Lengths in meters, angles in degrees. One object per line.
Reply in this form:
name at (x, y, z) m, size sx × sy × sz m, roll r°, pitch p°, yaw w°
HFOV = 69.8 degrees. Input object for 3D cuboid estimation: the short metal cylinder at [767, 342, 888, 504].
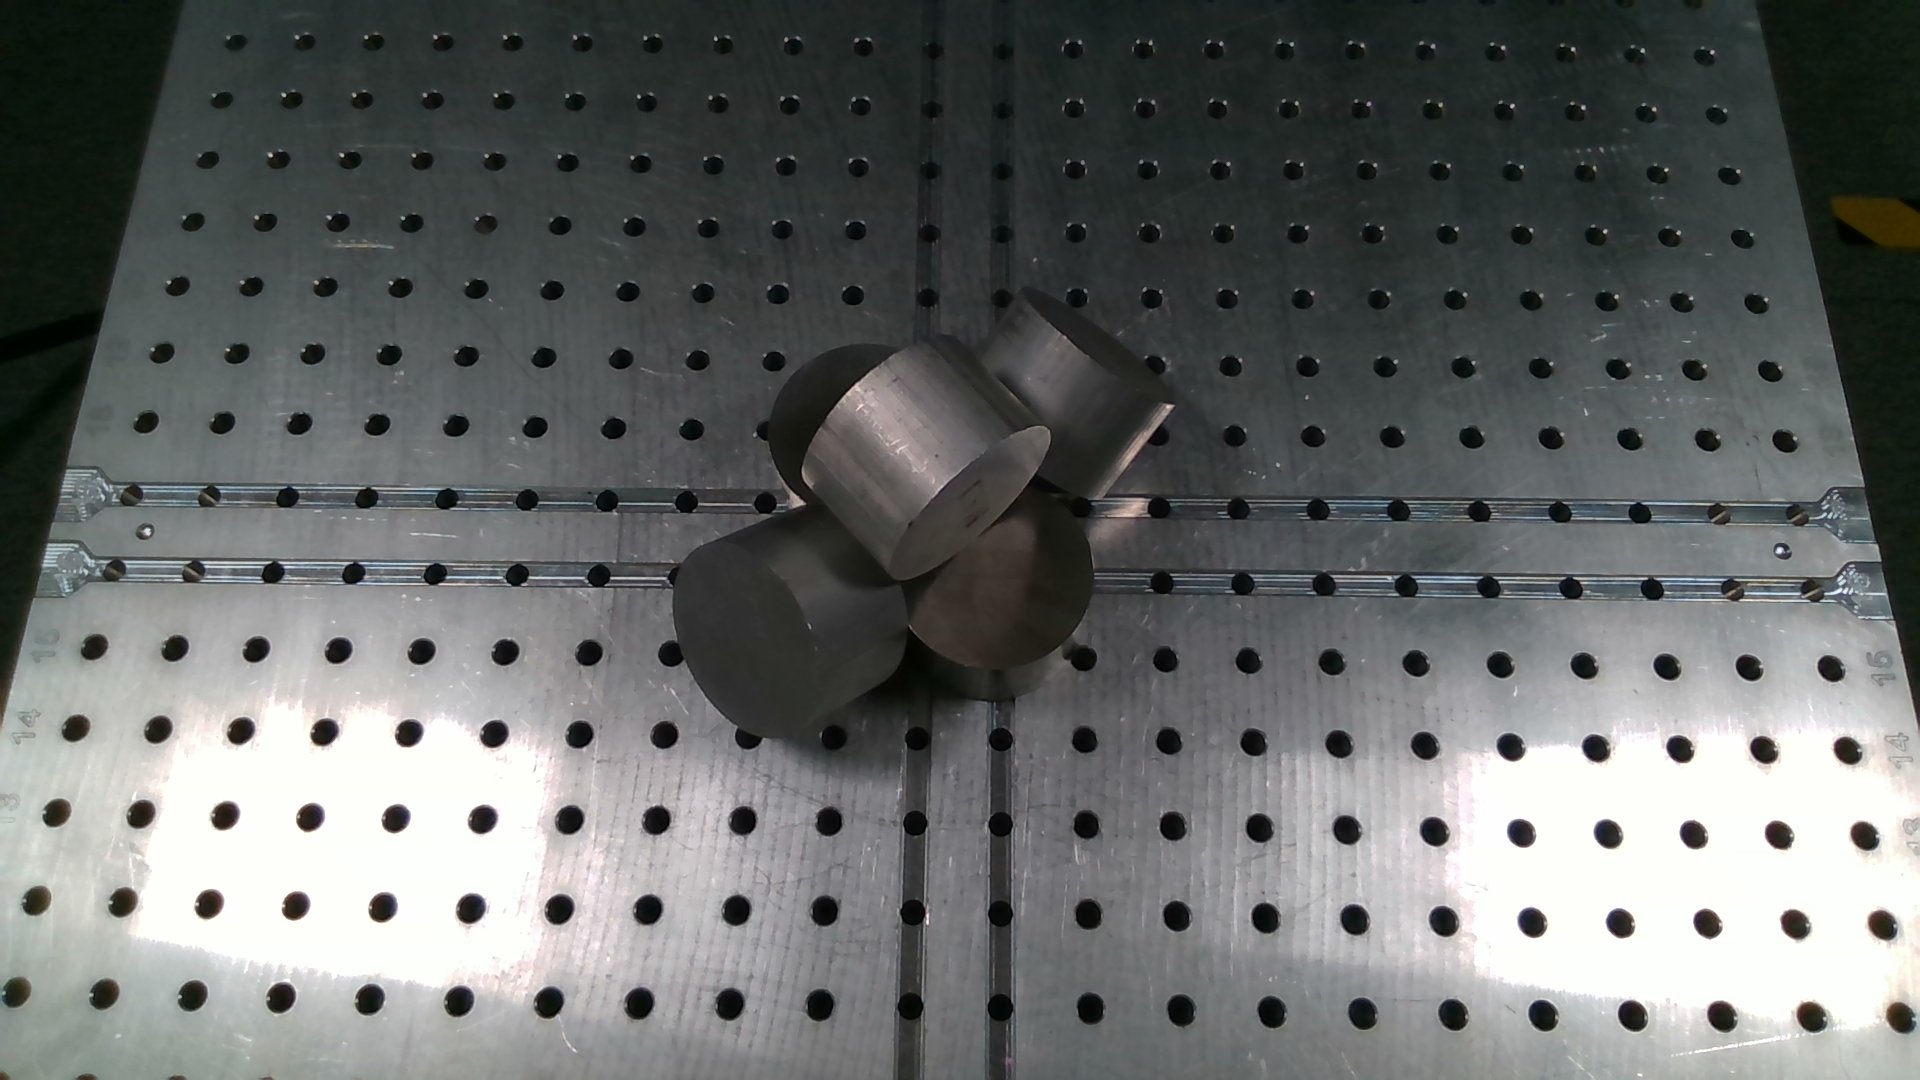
short metal cylinder at (-0.039, -0.037, 0.590) m, size 0.080 × 0.050 × 0.080 m, roll 0°, pitch 70°, yaw 0°

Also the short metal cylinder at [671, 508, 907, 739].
short metal cylinder at (-0.068, 0.031, 0.542) m, size 0.080 × 0.080 × 0.050 m, roll 47°, pitch 41°, yaw 15°

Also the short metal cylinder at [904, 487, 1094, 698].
short metal cylinder at (0.013, 0.021, 0.569) m, size 0.080 × 0.050 × 0.080 m, roll 0°, pitch 70°, yaw 0°

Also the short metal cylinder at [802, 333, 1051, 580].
short metal cylinder at (-0.012, -0.031, 0.518) m, size 0.080 × 0.080 × 0.050 m, roll -40°, pitch 75°, yaw -13°

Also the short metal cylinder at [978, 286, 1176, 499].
short metal cylinder at (0.043, -0.062, 0.576) m, size 0.080 × 0.080 × 0.050 m, roll 42°, pitch 109°, yaw 13°
